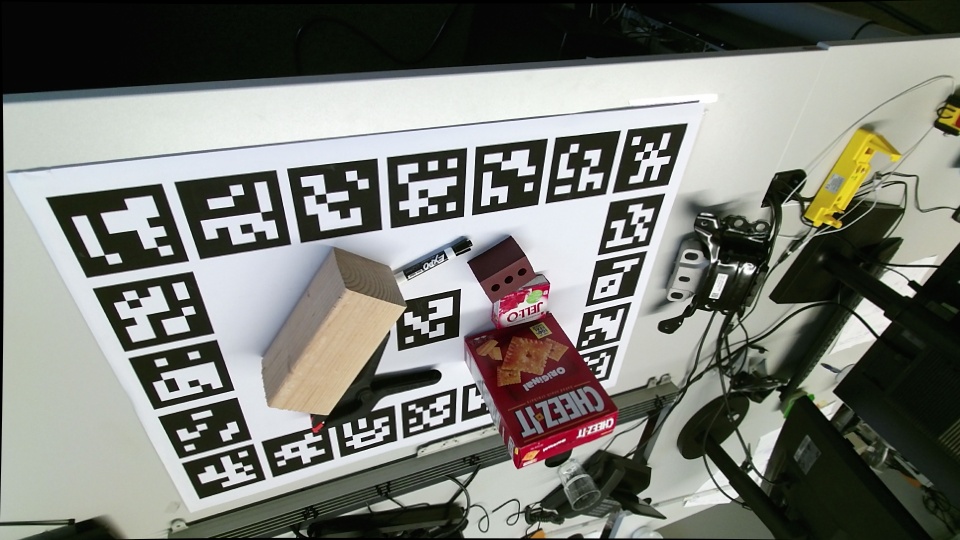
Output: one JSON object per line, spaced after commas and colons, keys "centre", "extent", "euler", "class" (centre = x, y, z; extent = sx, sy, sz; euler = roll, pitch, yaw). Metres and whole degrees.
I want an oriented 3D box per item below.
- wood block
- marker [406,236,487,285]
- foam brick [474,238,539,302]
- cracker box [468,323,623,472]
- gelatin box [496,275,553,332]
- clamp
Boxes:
{"centre": [-0.187, 0.086, 0.710], "extent": [0.090, 0.090, 0.206], "euler": [22, 113, -39], "class": "wood block"}
{"centre": [-0.046, -0.015, 0.749], "extent": [0.121, 0.019, 0.020], "euler": [-28, 129, -7], "class": "marker"}
{"centre": [0.042, 0.001, 0.786], "extent": [0.078, 0.051, 0.053], "euler": [-31, 130, -4], "class": "foam brick"}
{"centre": [0.093, 0.191, 0.835], "extent": [0.165, 0.213, 0.072], "euler": [-14, 129, -16], "class": "cracker box"}
{"centre": [0.071, 0.053, 0.856], "extent": [0.090, 0.030, 0.073], "euler": [-13, 126, -19], "class": "gelatin box"}
{"centre": [-0.166, 0.189, 0.826], "extent": [0.203, 0.036, 0.166], "euler": [-36, 131, 0], "class": "clamp"}
